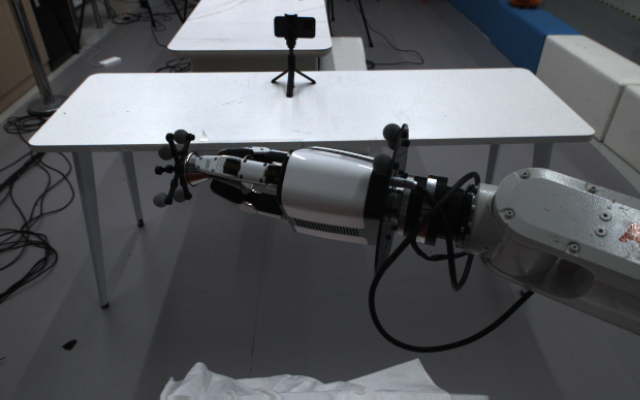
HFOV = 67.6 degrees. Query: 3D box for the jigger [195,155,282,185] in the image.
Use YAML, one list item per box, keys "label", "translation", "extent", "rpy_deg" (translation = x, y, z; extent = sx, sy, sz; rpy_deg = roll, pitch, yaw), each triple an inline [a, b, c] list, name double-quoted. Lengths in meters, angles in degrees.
- label: "jigger"
  translation: [-0.104, -0.034, 0.537]
  extent: [0.071, 0.043, 0.043]
  rpy_deg: [6, 35, 14]
